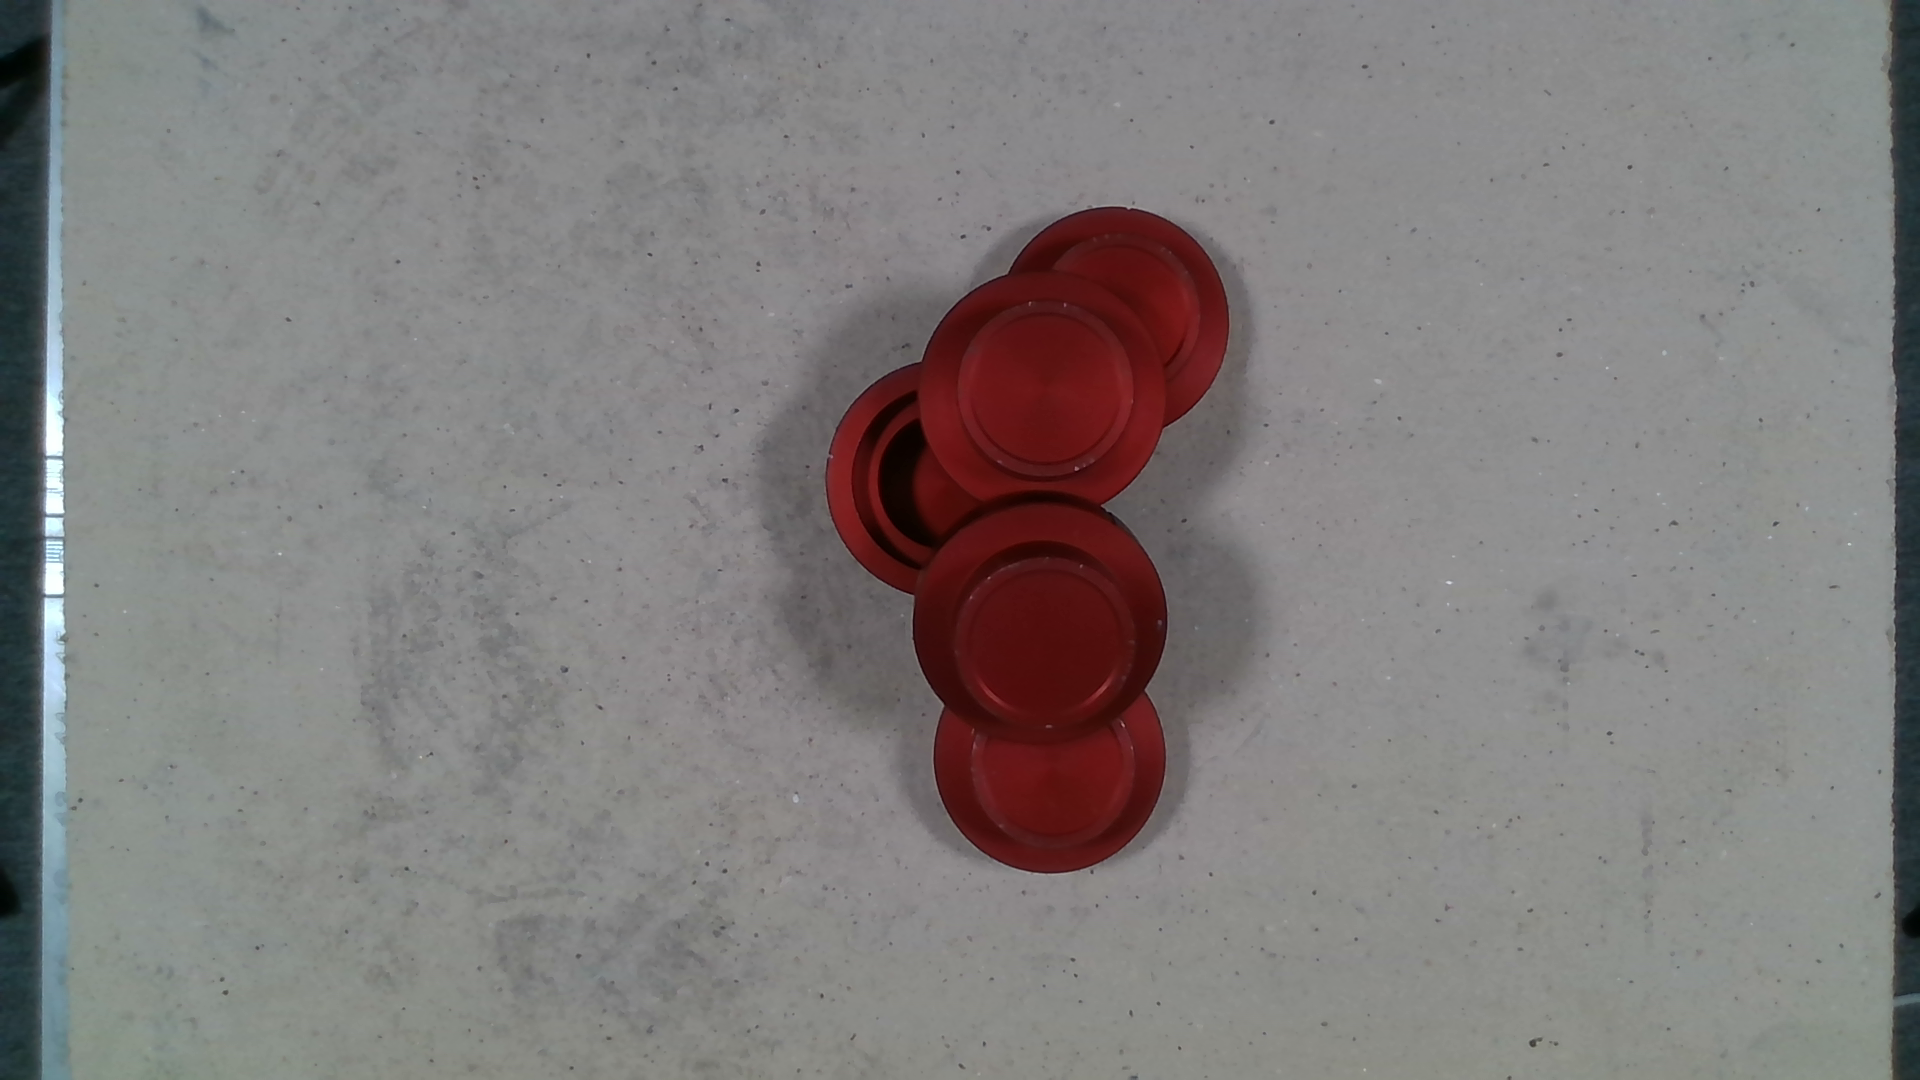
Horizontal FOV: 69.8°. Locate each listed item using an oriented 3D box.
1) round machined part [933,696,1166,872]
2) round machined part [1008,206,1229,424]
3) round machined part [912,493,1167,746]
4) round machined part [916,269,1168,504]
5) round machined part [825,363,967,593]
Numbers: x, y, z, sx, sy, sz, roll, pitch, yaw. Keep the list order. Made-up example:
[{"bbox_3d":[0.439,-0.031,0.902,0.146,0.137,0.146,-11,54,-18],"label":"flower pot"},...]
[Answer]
[{"bbox_3d":[0.038,0.091,0.579,0.098,0.042,0.098,0,90,0],"label":"round machined part"},{"bbox_3d":[0.064,-0.091,0.577,0.098,0.042,0.098,0,90,0],"label":"round machined part"},{"bbox_3d":[0.031,0.033,0.527,0.098,0.042,0.098,0,104,-1],"label":"round machined part"},{"bbox_3d":[0.032,-0.057,0.536,0.098,0.042,0.098,0,90,0],"label":"round machined part"},{"bbox_3d":[-0.006,-0.025,0.578,0.098,0.042,0.098,0,90,0],"label":"round machined part"}]
